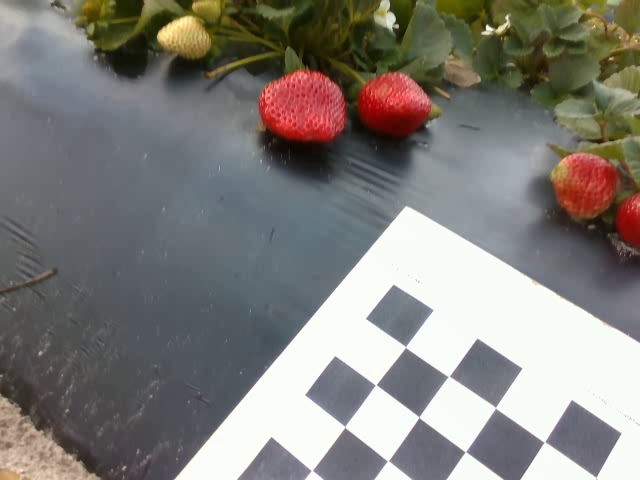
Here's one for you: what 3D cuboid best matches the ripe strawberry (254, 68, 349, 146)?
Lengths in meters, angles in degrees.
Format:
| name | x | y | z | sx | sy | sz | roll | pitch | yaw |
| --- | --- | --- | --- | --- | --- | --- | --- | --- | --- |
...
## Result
| name | x | y | z | sx | sy | sz | roll | pitch | yaw |
| --- | --- | --- | --- | --- | --- | --- | --- | --- | --- |
| ripe strawberry | -0.009 | -0.079 | 0.358 | 0.058 | 0.065 | 0.044 | -25 | -44 | 1 |

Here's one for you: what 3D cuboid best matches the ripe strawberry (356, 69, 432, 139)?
| name | x | y | z | sx | sy | sz | roll | pitch | yaw |
| --- | --- | --- | --- | --- | --- | --- | --- | --- | --- |
| ripe strawberry | 0.051 | -0.090 | 0.384 | 0.050 | 0.051 | 0.060 | -30 | 15 | -1 |

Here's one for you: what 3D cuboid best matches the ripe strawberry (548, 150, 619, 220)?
| name | x | y | z | sx | sy | sz | roll | pitch | yaw |
| --- | --- | --- | --- | --- | --- | --- | --- | --- | --- |
| ripe strawberry | 0.152 | -0.033 | 0.343 | 0.053 | 0.047 | 0.038 | 23 | -19 | -17 |
